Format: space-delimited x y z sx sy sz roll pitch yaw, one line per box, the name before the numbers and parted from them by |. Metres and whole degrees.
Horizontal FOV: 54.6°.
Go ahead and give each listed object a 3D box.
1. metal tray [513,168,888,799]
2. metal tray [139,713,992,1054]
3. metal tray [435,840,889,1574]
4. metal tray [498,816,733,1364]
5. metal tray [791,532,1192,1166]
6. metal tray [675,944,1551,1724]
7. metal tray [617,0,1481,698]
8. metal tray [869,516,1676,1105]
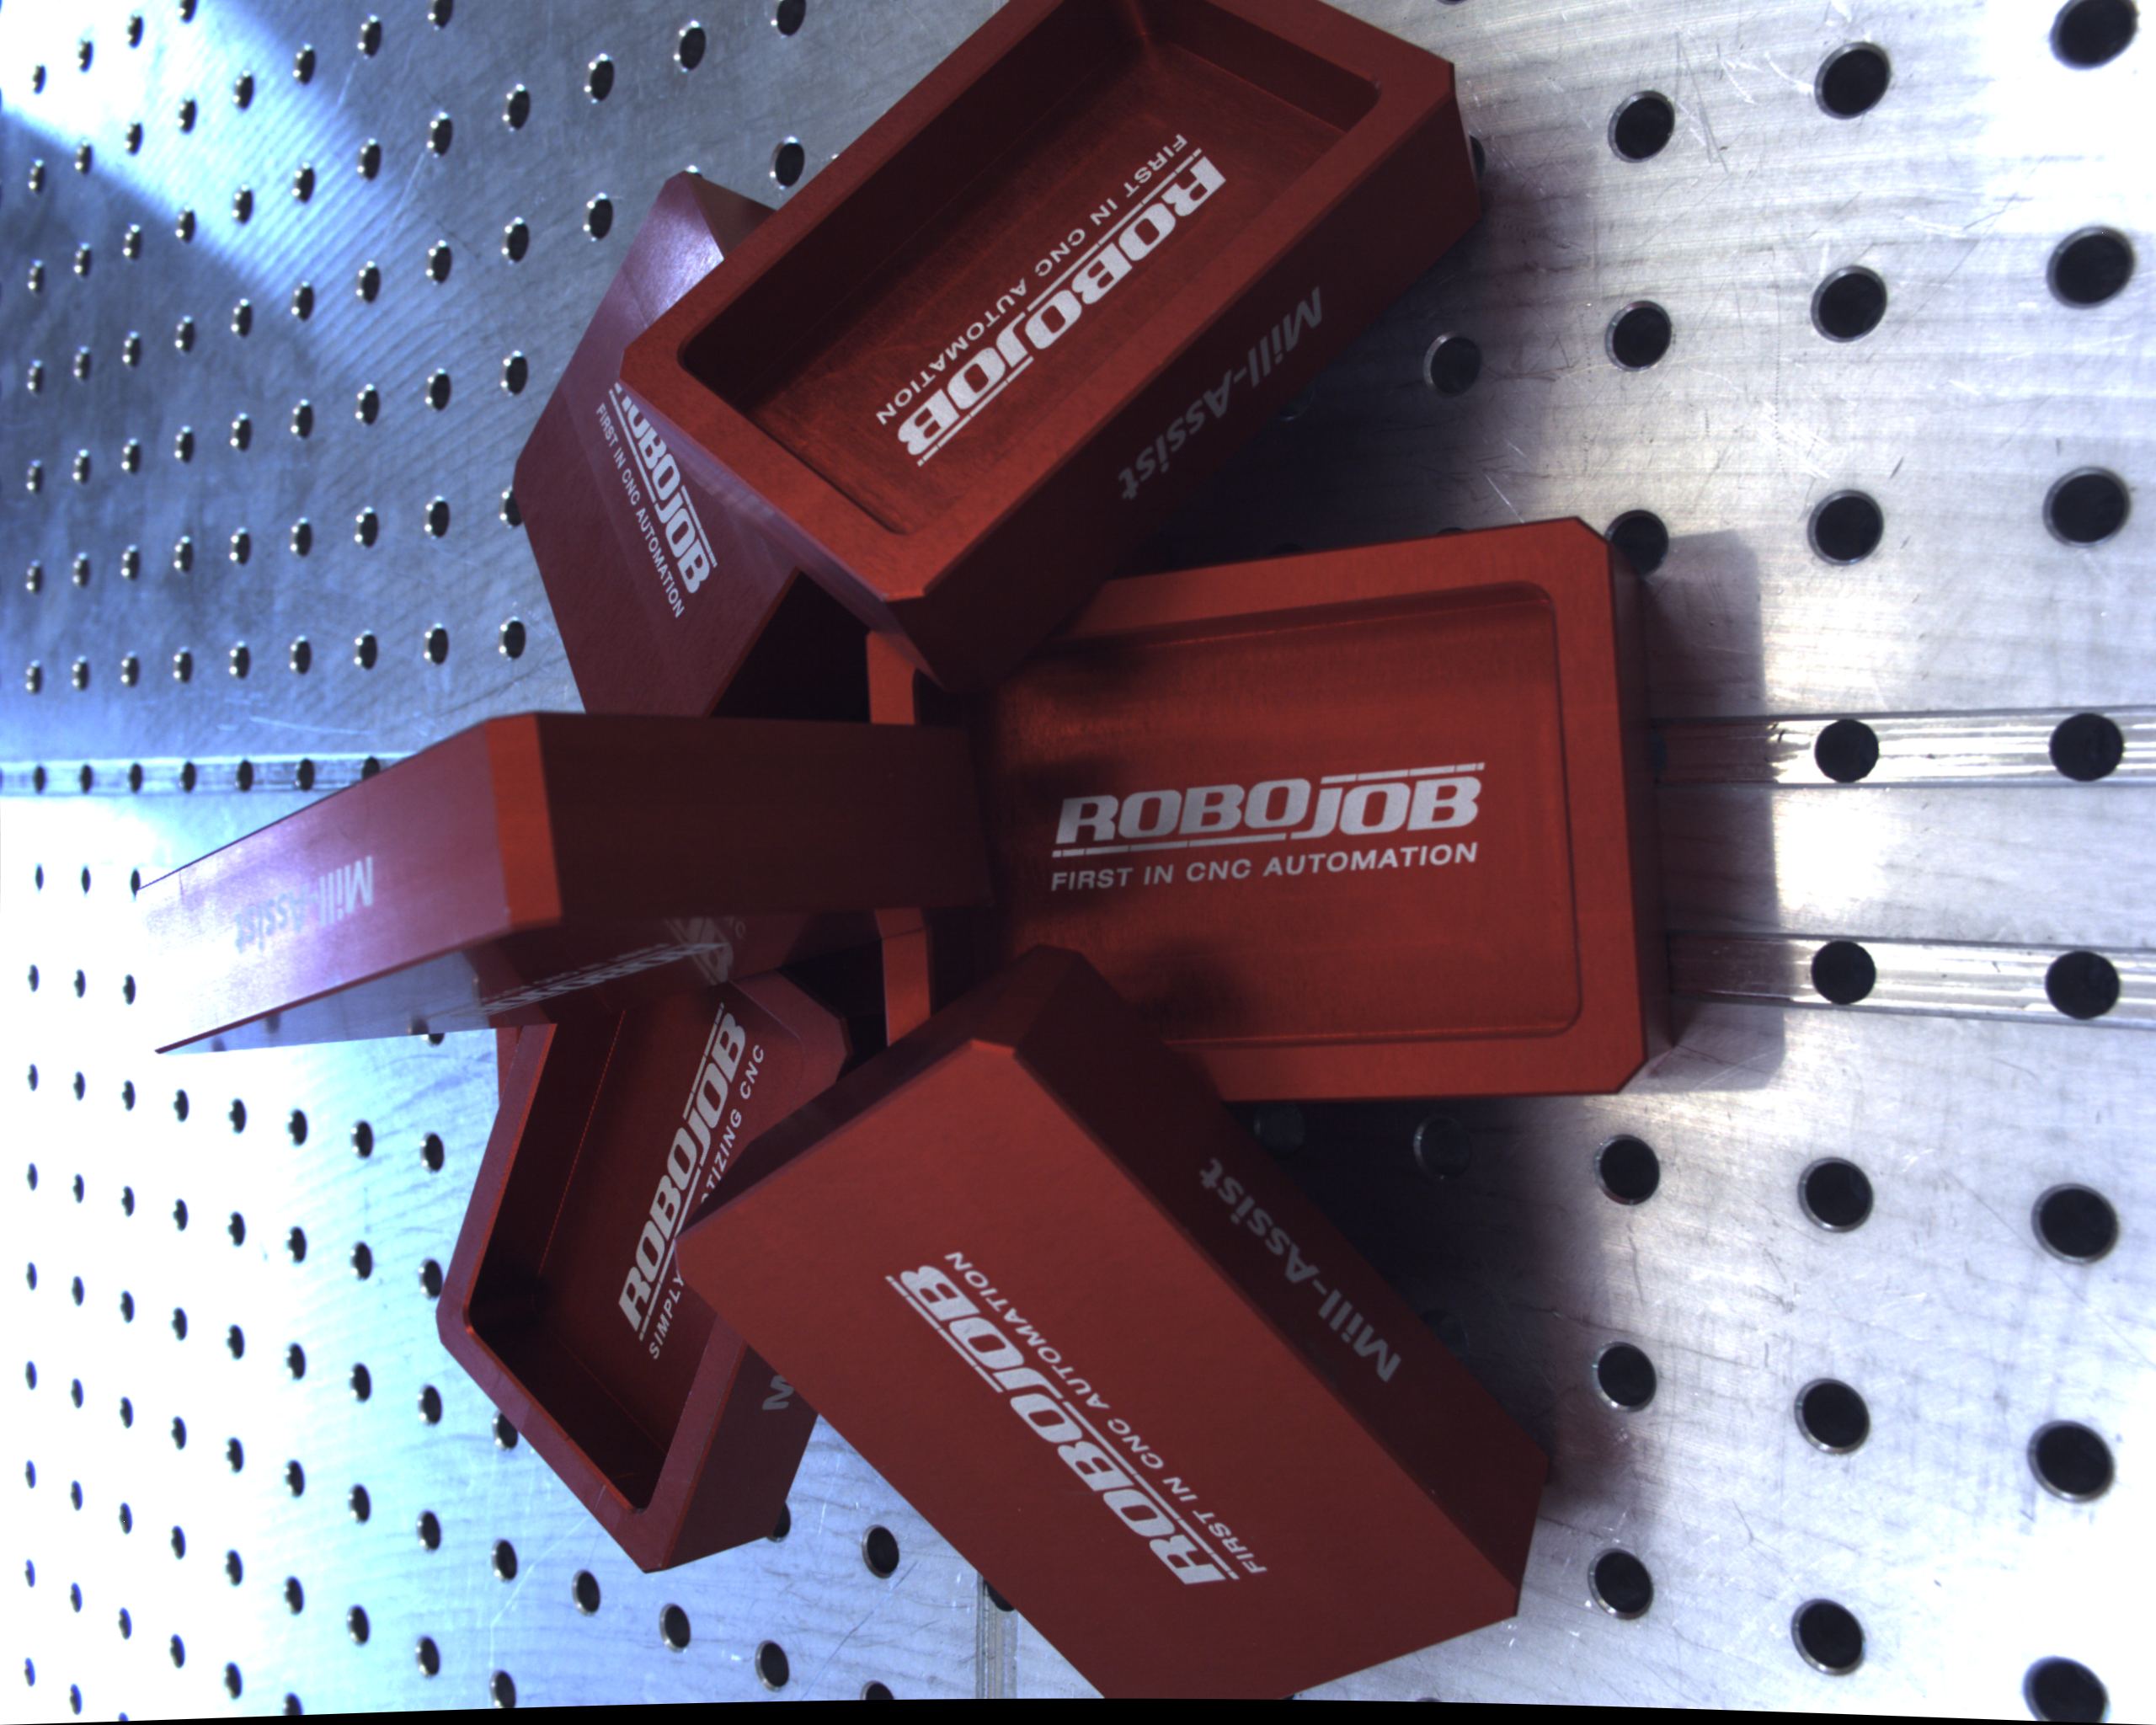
metal tray | -0.079 -0.078 0.451 0.090 0.030 0.130 -53 44 27
metal tray | -0.090 0.006 0.358 0.130 0.091 0.030 -16 80 43
metal tray | -0.084 0.068 0.437 0.090 0.030 0.129 33 111 35
metal tray | -0.096 0.052 0.487 0.090 0.030 0.129 -5 86 39
metal tray | -0.023 0.000 0.426 0.090 0.030 0.129 -6 84 38
metal tray | 0.005 0.086 0.359 0.090 0.030 0.130 -36 101 35
metal tray | -0.006 -0.101 0.368 0.130 0.030 0.090 -45 57 -7
metal tray | 0.031 -0.005 0.358 0.130 0.030 0.090 -4 87 22
